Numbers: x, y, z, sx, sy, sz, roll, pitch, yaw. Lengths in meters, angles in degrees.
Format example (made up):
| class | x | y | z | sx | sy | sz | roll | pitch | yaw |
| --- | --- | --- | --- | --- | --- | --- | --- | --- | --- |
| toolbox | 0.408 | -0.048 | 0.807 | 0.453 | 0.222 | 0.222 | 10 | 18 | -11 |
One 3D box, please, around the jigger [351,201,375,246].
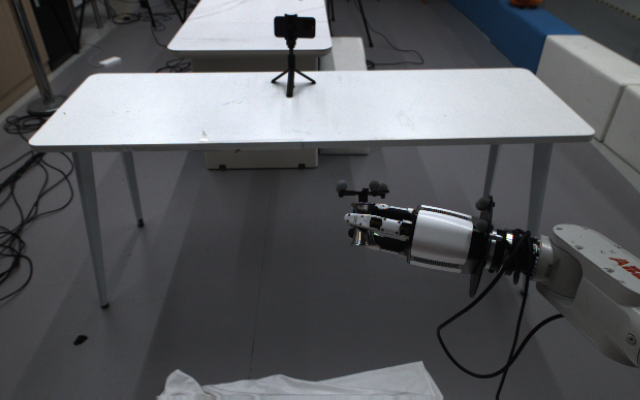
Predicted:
| class | x | y | z | sx | sy | sz | roll | pitch | yaw |
| --- | --- | --- | --- | --- | --- | --- | --- | --- | --- |
| jigger | 0.068 | 0.038 | 0.777 | 0.043 | 0.071 | 0.043 | 1 | -5 | 0 |
